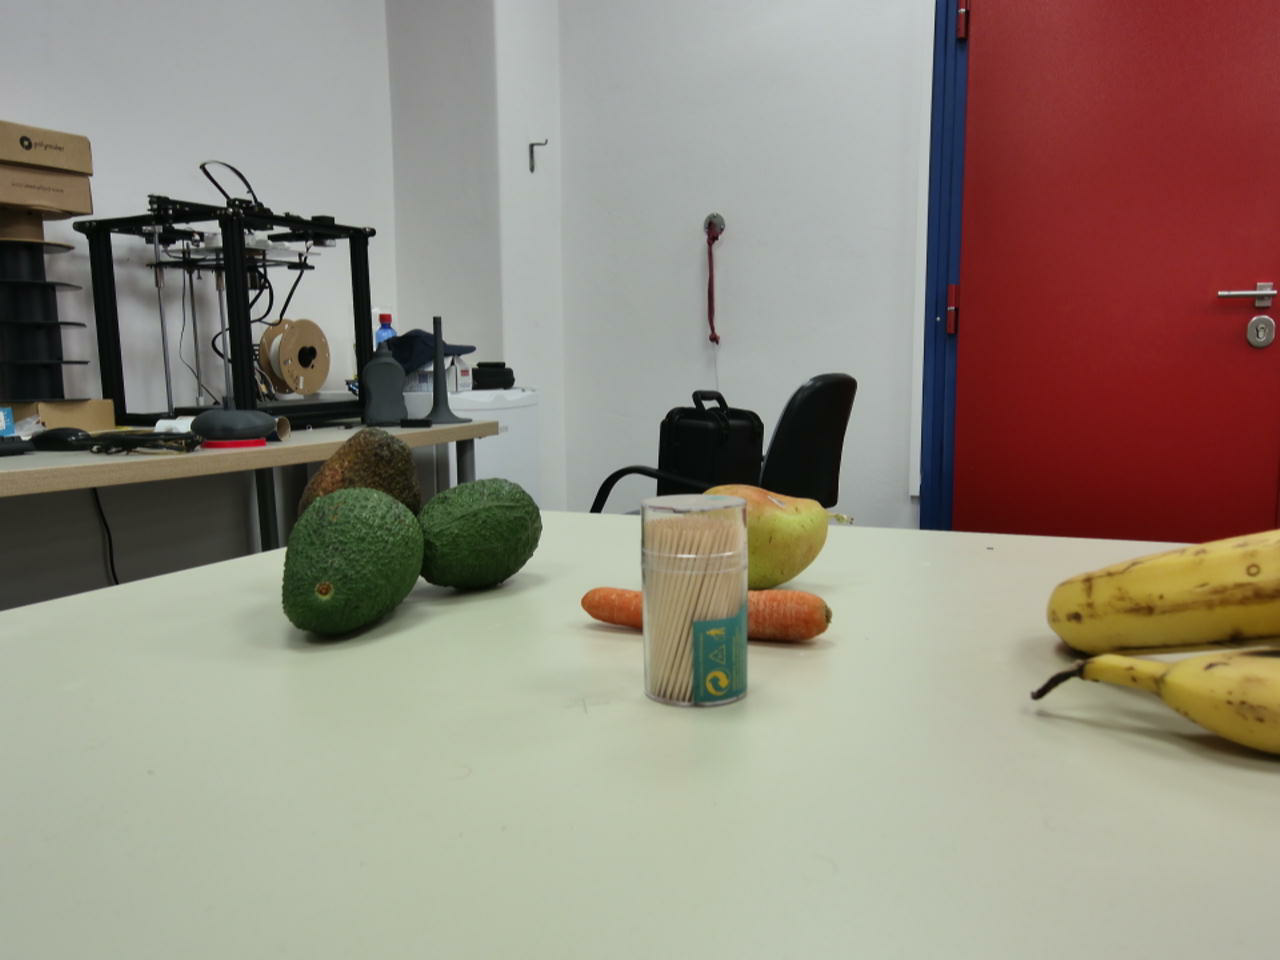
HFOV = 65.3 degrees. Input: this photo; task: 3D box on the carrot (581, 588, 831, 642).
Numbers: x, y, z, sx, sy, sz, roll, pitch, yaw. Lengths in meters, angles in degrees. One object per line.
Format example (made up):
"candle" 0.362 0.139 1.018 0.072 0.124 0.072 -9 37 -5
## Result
"carrot" 0.029 0.062 0.474 0.122 0.023 0.024 2 4 22
